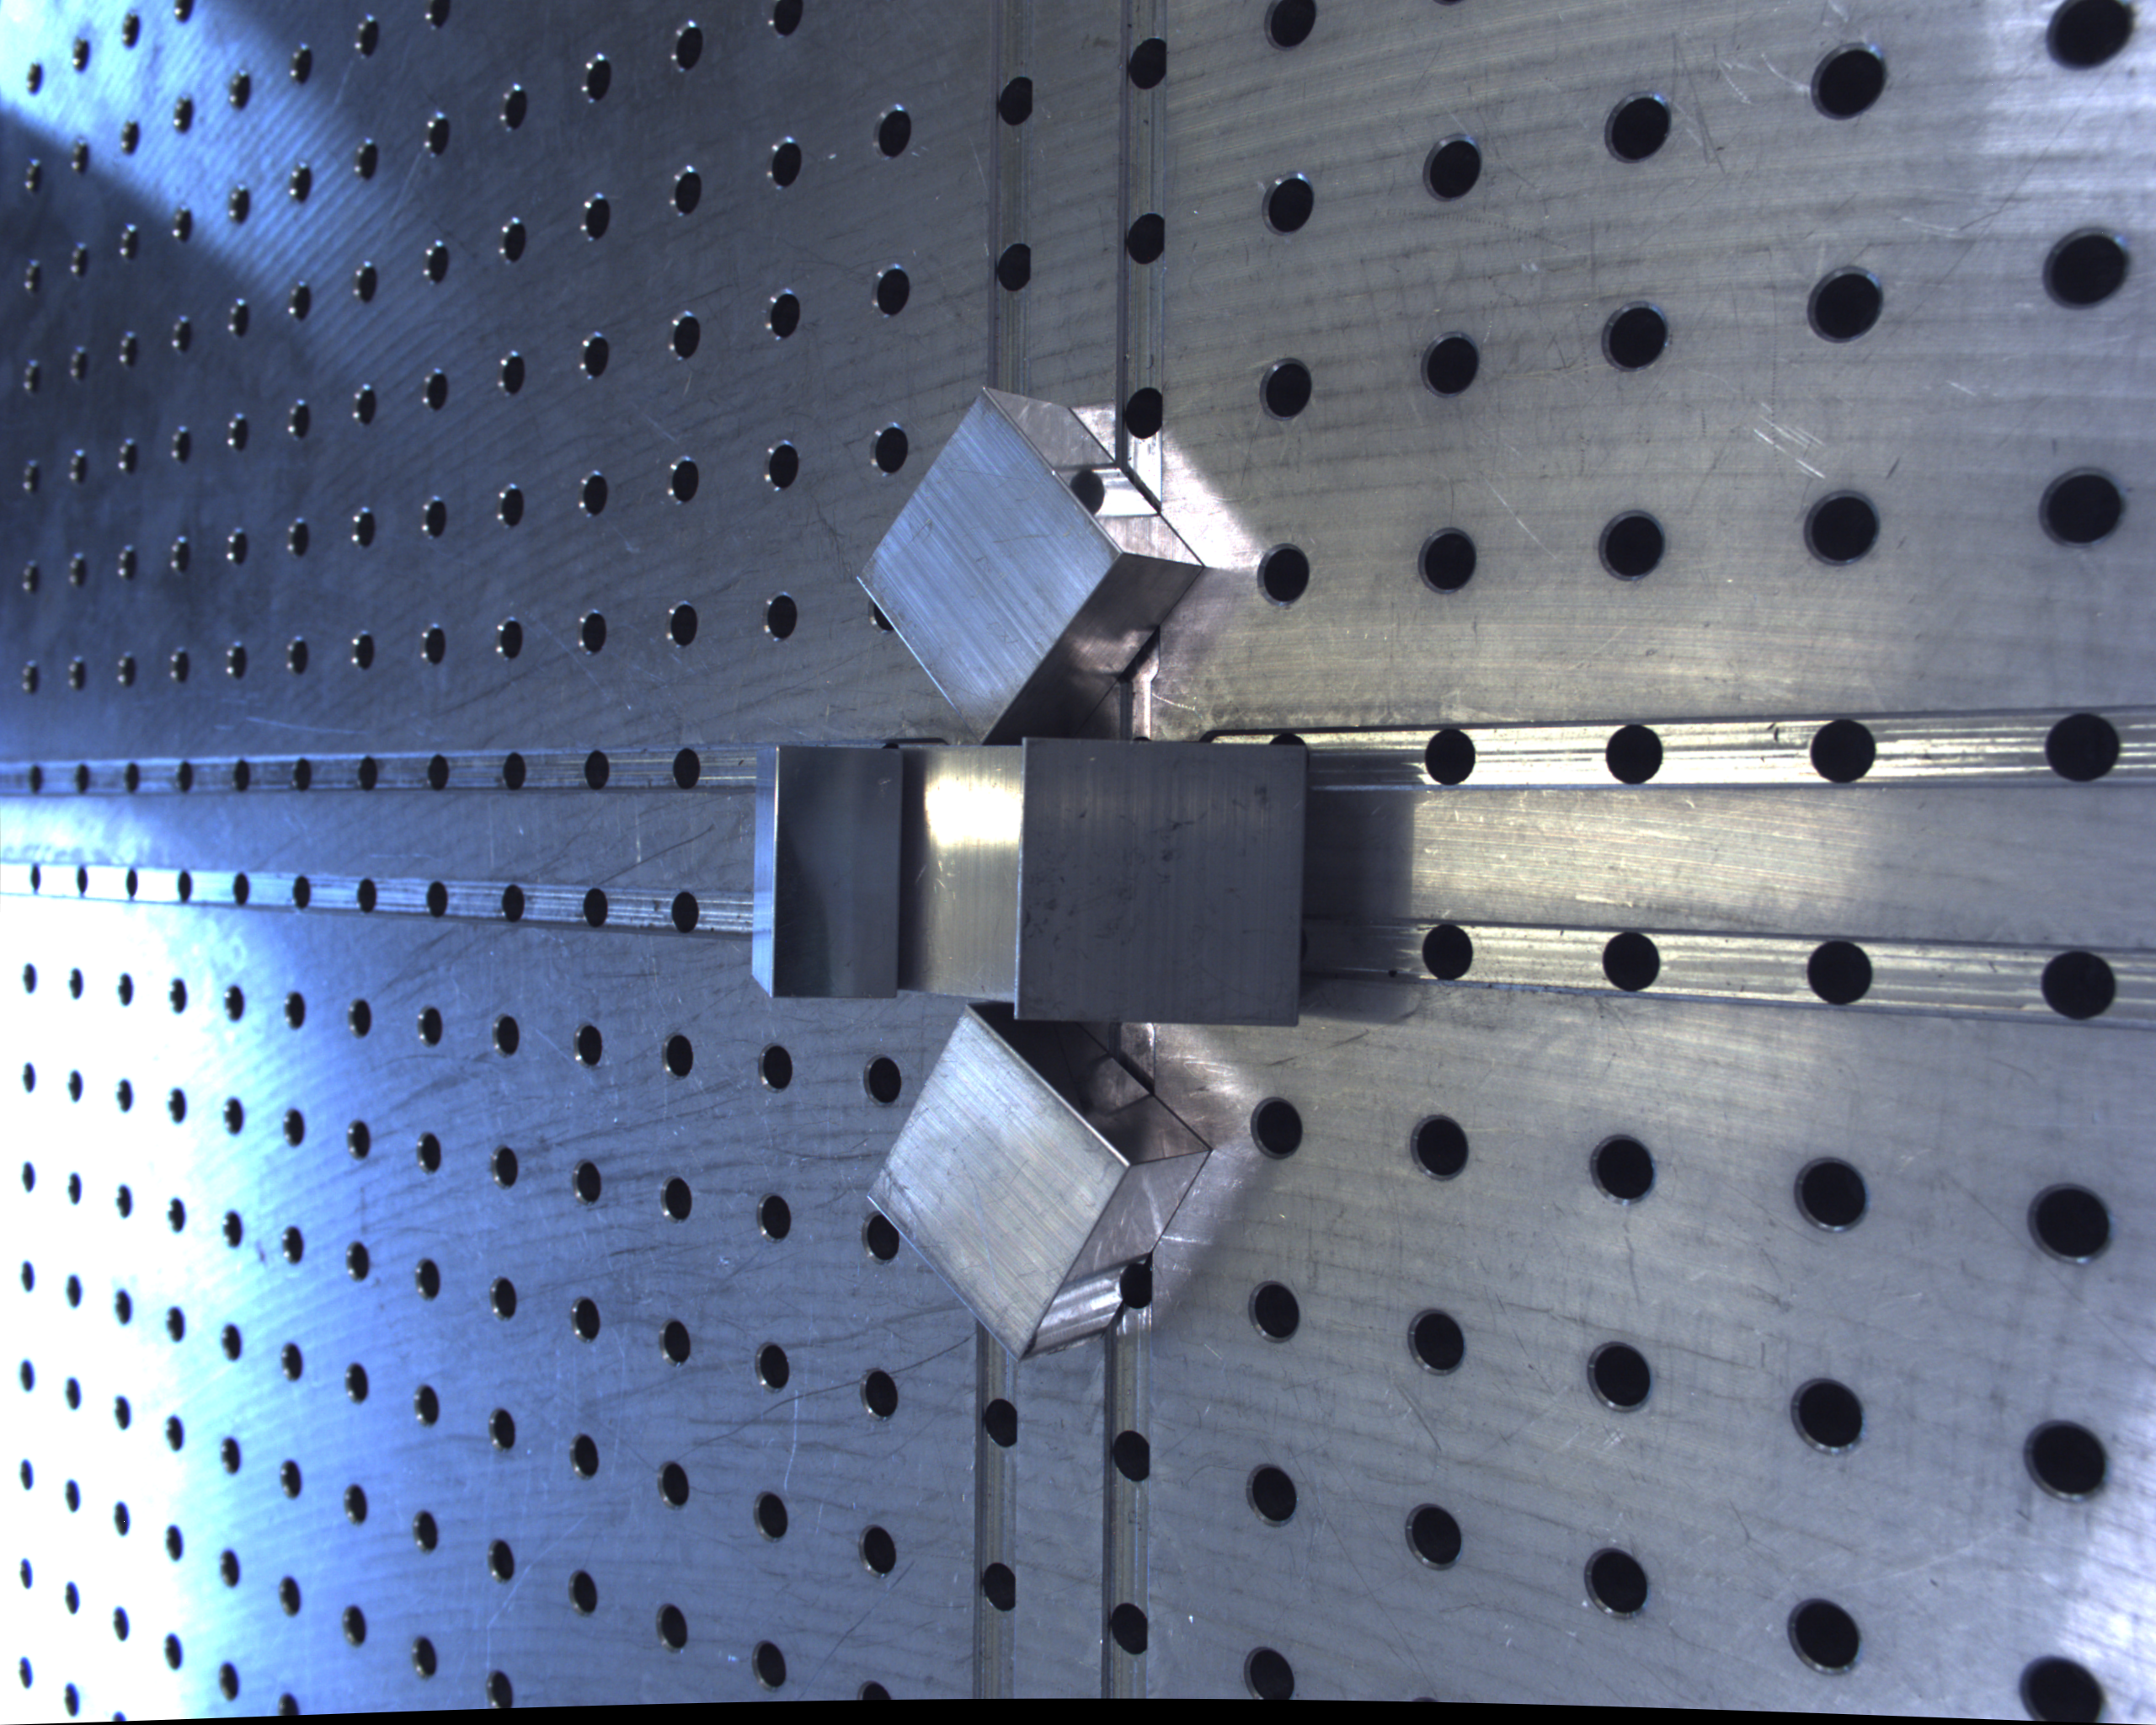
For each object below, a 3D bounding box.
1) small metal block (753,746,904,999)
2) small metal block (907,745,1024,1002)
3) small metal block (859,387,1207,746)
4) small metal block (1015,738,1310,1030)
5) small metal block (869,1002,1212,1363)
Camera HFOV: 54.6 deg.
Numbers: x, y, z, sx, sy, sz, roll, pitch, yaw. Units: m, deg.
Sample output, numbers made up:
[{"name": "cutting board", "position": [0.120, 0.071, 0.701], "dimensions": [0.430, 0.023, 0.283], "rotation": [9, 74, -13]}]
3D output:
[{"name": "small metal block", "position": [-0.053, 0.001, 0.438], "dimensions": [0.050, 0.025, 0.050], "rotation": [-170, 81, -76]}, {"name": "small metal block", "position": [-0.010, 0.002, 0.418], "dimensions": [0.050, 0.025, 0.050], "rotation": [2, 90, 40]}, {"name": "small metal block", "position": [-0.010, -0.058, 0.419], "dimensions": [0.050, 0.025, 0.050], "rotation": [-51, 59, 27]}, {"name": "small metal block", "position": [0.015, 0.004, 0.380], "dimensions": [0.050, 0.025, 0.050], "rotation": [2, 92, -1]}, {"name": "small metal block", "position": [-0.009, 0.062, 0.417], "dimensions": [0.050, 0.025, 0.050], "rotation": [42, 116, 33]}]
